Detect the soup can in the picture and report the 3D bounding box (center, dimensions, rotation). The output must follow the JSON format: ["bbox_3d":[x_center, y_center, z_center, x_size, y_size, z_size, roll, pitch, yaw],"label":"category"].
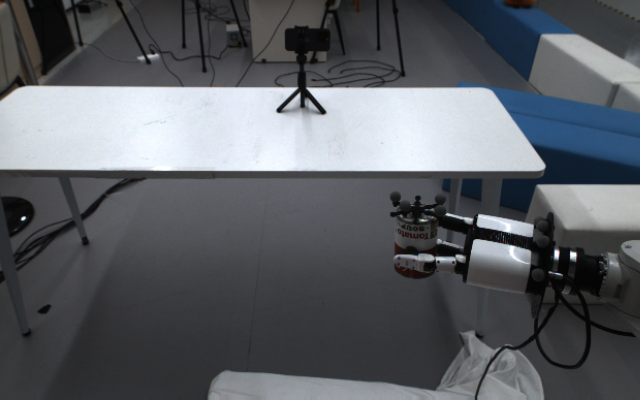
[{"bbox_3d":[0.154,0.062,0.767,0.067,0.101,0.067,-3,27,2],"label":"soup can"}]
